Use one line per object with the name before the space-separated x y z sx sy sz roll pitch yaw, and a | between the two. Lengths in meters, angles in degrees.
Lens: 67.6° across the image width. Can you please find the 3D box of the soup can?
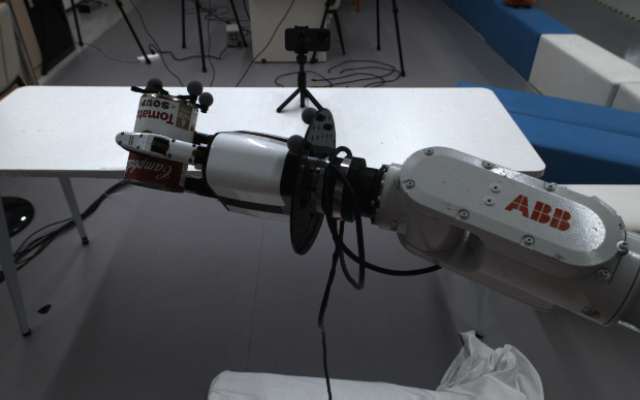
soup can | -0.183 -0.063 0.563 0.067 0.101 0.067 9 -5 1
